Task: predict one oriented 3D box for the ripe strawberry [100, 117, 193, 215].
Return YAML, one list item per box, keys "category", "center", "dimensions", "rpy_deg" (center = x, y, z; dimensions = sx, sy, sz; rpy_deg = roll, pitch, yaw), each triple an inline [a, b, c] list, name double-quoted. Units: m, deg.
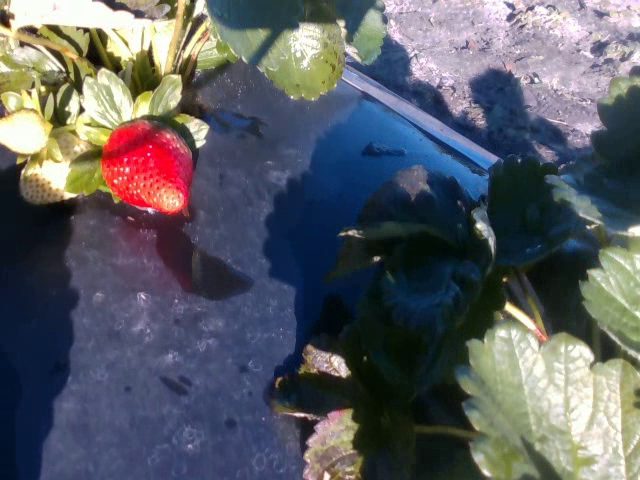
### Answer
- category: "ripe strawberry"
  center: [-0.073, -0.027, 0.279]
  dimensions: [0.064, 0.050, 0.052]
  rpy_deg: [43, -2, 39]
